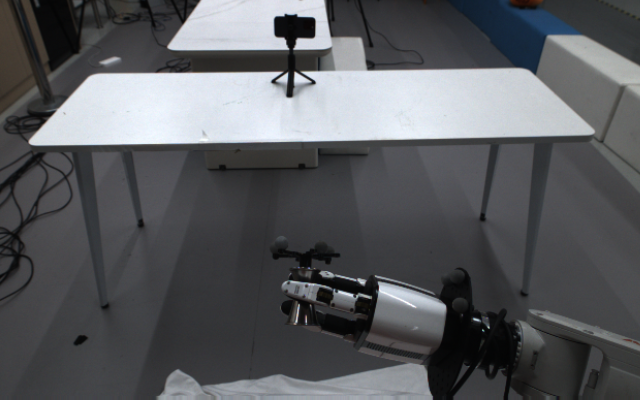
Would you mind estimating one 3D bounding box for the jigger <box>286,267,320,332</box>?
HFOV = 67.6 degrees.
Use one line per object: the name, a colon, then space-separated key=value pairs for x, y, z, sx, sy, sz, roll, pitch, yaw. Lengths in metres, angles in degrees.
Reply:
jigger: x=-0.020 y=0.118 z=0.595 sx=0.043 sy=0.043 sz=0.071 roll=3 pitch=76 yaw=1
